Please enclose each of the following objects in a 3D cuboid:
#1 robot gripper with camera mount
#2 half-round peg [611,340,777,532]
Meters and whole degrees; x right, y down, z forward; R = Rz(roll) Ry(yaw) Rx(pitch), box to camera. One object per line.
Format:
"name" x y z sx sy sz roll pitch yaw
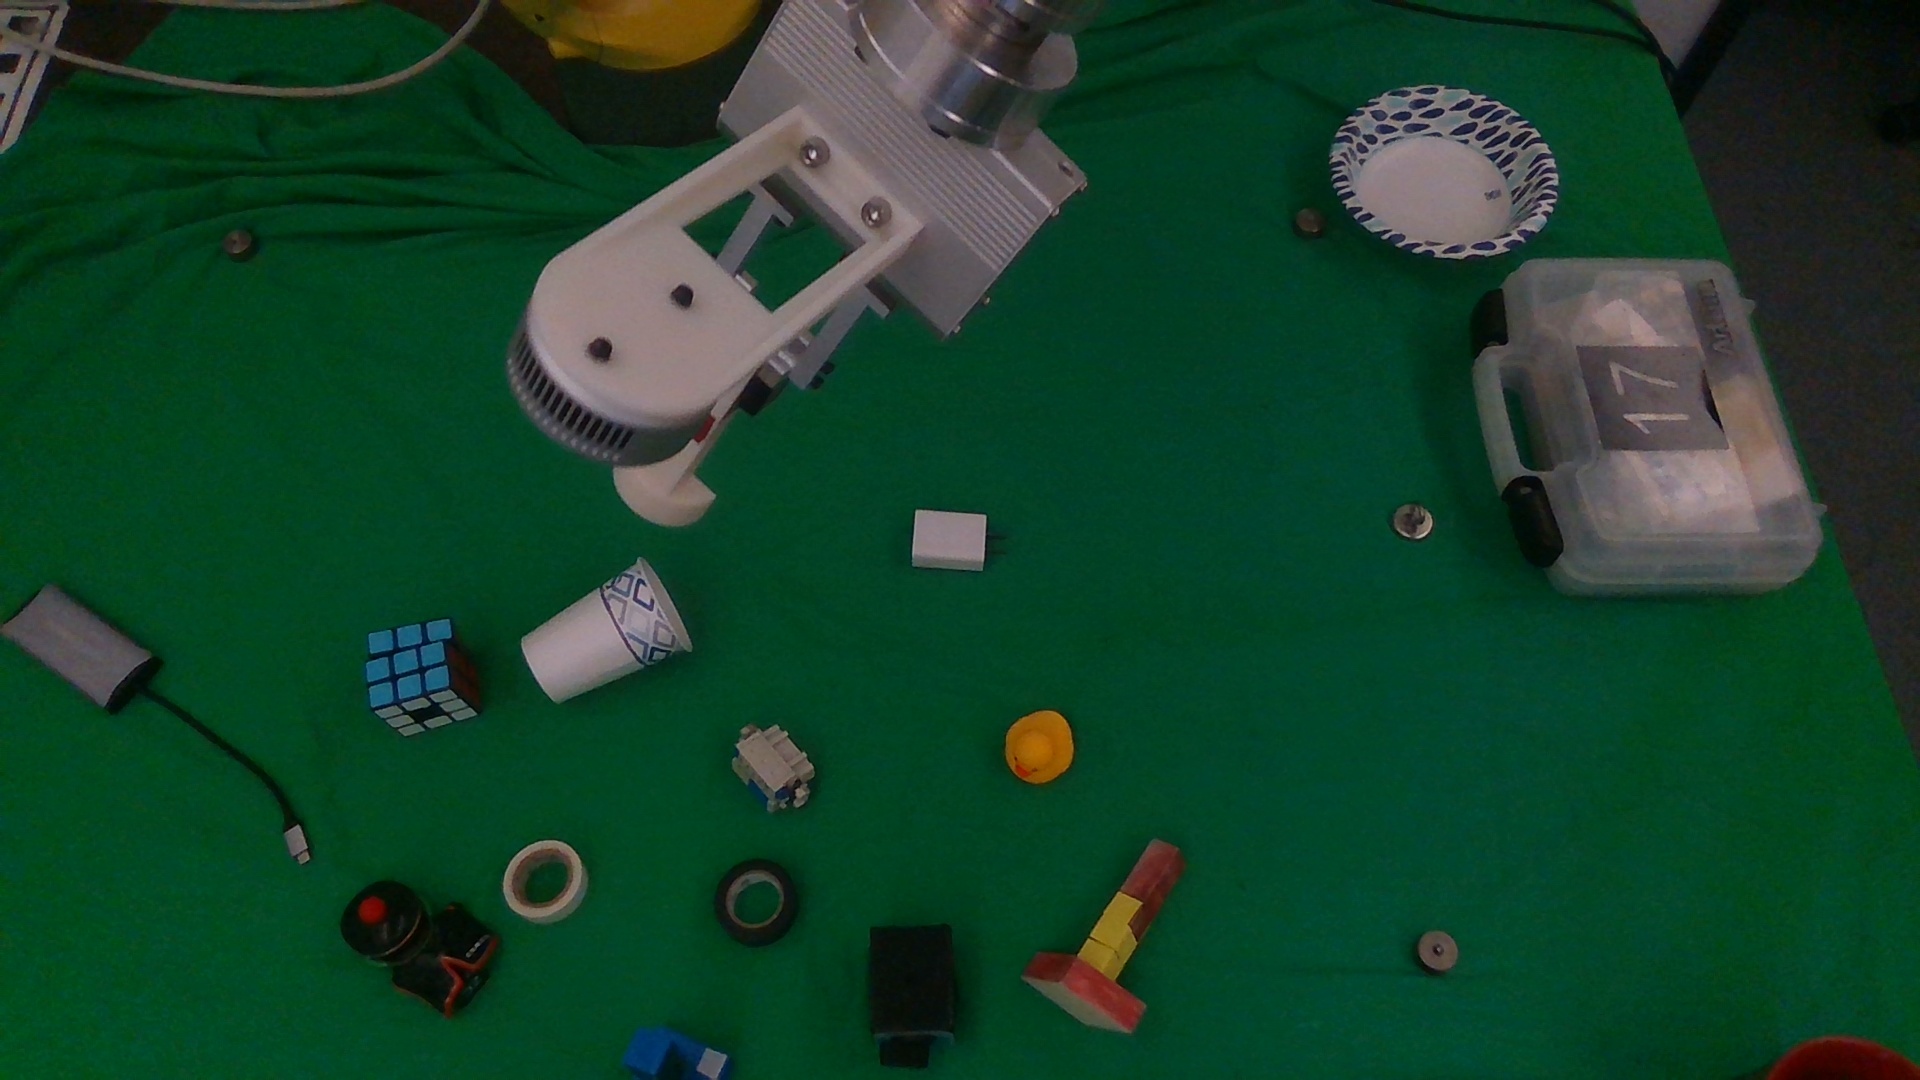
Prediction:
"robot gripper with camera mount" -0.090 -0.063 0.480 0.119 0.159 0.193 42 41 0
"half-round peg" -0.119 -0.049 0.619 0.054 0.122 0.031 44 45 0
